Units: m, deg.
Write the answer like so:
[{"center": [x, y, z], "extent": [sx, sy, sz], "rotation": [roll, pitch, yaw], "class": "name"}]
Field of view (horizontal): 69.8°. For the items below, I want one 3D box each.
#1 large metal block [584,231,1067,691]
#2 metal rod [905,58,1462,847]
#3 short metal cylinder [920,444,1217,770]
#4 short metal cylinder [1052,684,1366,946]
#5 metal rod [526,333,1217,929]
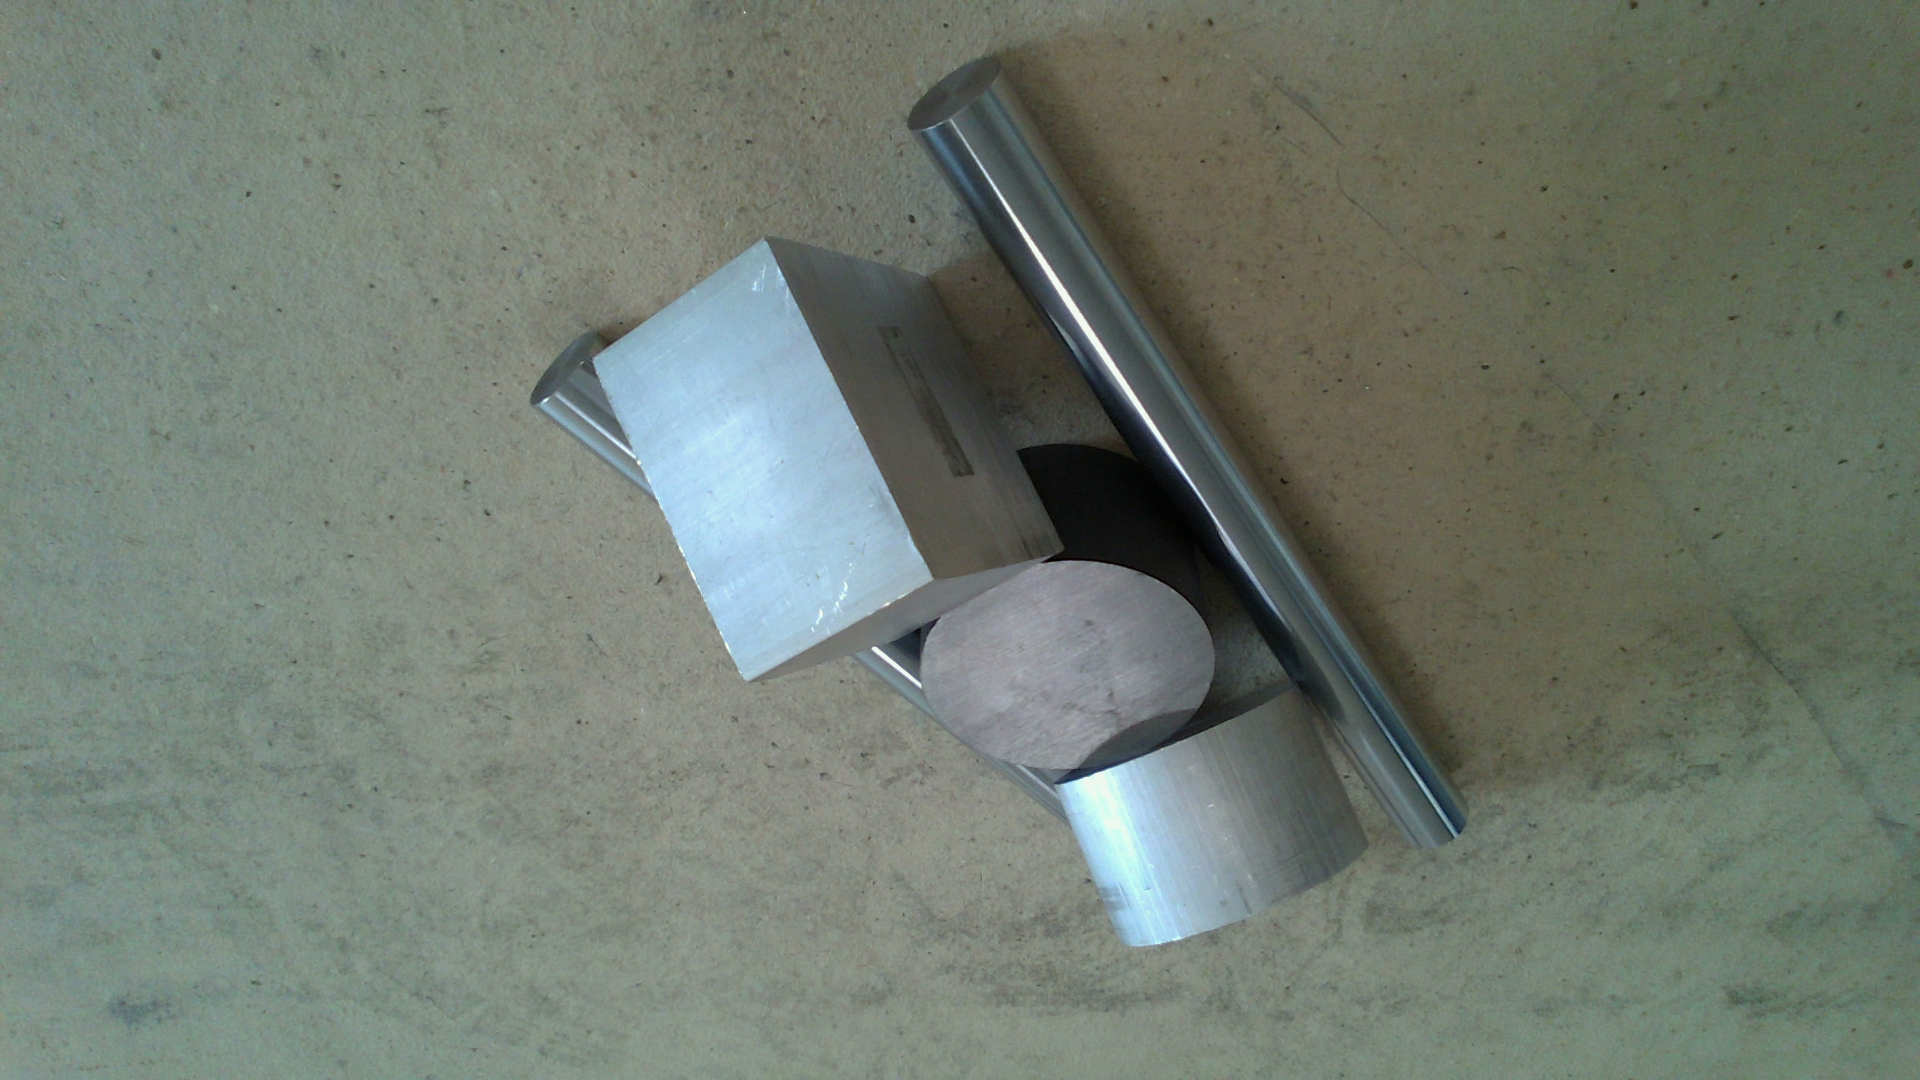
[{"center": [-0.027, -0.018, 0.319], "extent": [0.050, 0.080, 0.080], "rotation": [-30, 82, 22], "class": "large metal block"}, {"center": [0.079, -0.003, 0.388], "extent": [0.025, 0.025, 0.301], "rotation": [-26, 126, 20], "class": "metal rod"}, {"center": [0.029, 0.020, 0.391], "extent": [0.080, 0.050, 0.080], "rotation": [0, 130, 0], "class": "short metal cylinder"}, {"center": [0.075, 0.082, 0.416], "extent": [0.080, 0.080, 0.050], "rotation": [-25, 83, 20], "class": "short metal cylinder"}, {"center": [-0.005, 0.044, 0.427], "extent": [0.025, 0.025, 0.301], "rotation": [-33, 123, 25], "class": "metal rod"}]
